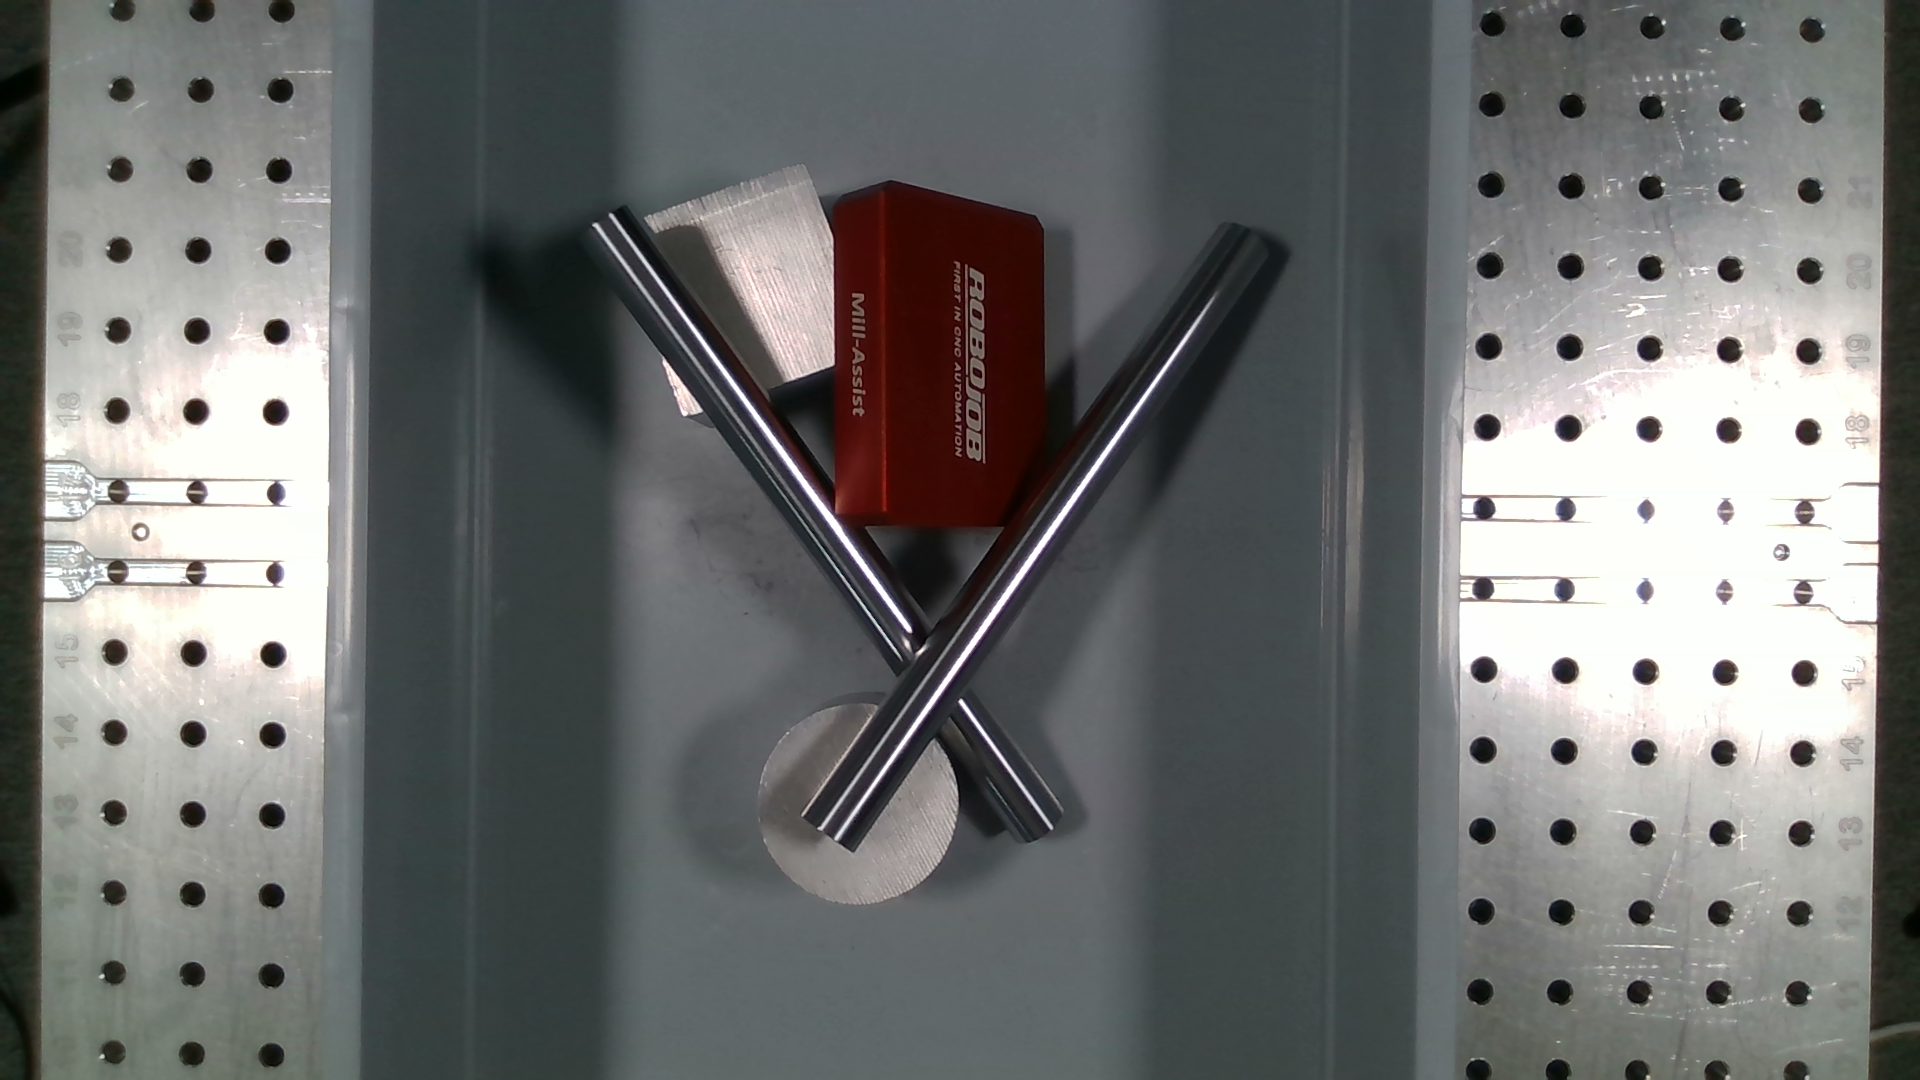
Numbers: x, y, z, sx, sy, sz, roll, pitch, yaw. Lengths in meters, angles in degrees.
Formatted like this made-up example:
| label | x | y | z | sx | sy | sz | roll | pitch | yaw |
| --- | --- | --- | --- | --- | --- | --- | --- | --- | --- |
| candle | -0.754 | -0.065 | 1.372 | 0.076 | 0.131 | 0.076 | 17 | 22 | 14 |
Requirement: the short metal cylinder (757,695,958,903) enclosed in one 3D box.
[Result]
| label | x | y | z | sx | sy | sz | roll | pitch | yaw |
| --- | --- | --- | --- | --- | --- | --- | --- | --- | --- |
| short metal cylinder | -0.041 | 0.105 | 0.573 | 0.080 | 0.050 | 0.080 | 0 | 90 | 0 |

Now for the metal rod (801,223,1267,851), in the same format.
| label | x | y | z | sx | sy | sz | roll | pitch | yaw |
| --- | --- | --- | --- | --- | --- | --- | --- | --- | --- |
| metal rod | 0.035 | -0.007 | 0.557 | 0.025 | 0.025 | 0.300 | 36 | 78 | 0 |

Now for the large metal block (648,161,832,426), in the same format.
| label | x | y | z | sx | sy | sz | roll | pitch | yaw |
| --- | --- | --- | --- | --- | --- | --- | --- | --- | --- |
| large metal block | -0.086 | -0.099 | 0.569 | 0.080 | 0.050 | 0.080 | -19 | 90 | 0 |

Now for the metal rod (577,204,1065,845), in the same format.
| label | x | y | z | sx | sy | sz | roll | pitch | yaw |
| --- | --- | --- | --- | --- | --- | --- | --- | --- | --- |
| metal rod | -0.049 | 0.001 | 0.549 | 0.025 | 0.025 | 0.300 | -35 | 104 | 0 |

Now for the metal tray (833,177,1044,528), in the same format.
| label | x | y | z | sx | sy | sz | roll | pitch | yaw |
| --- | --- | --- | --- | --- | --- | --- | --- | --- | --- |
| metal tray | -0.007 | -0.071 | 0.555 | 0.090 | 0.030 | 0.130 | 1 | 89 | -44 |
